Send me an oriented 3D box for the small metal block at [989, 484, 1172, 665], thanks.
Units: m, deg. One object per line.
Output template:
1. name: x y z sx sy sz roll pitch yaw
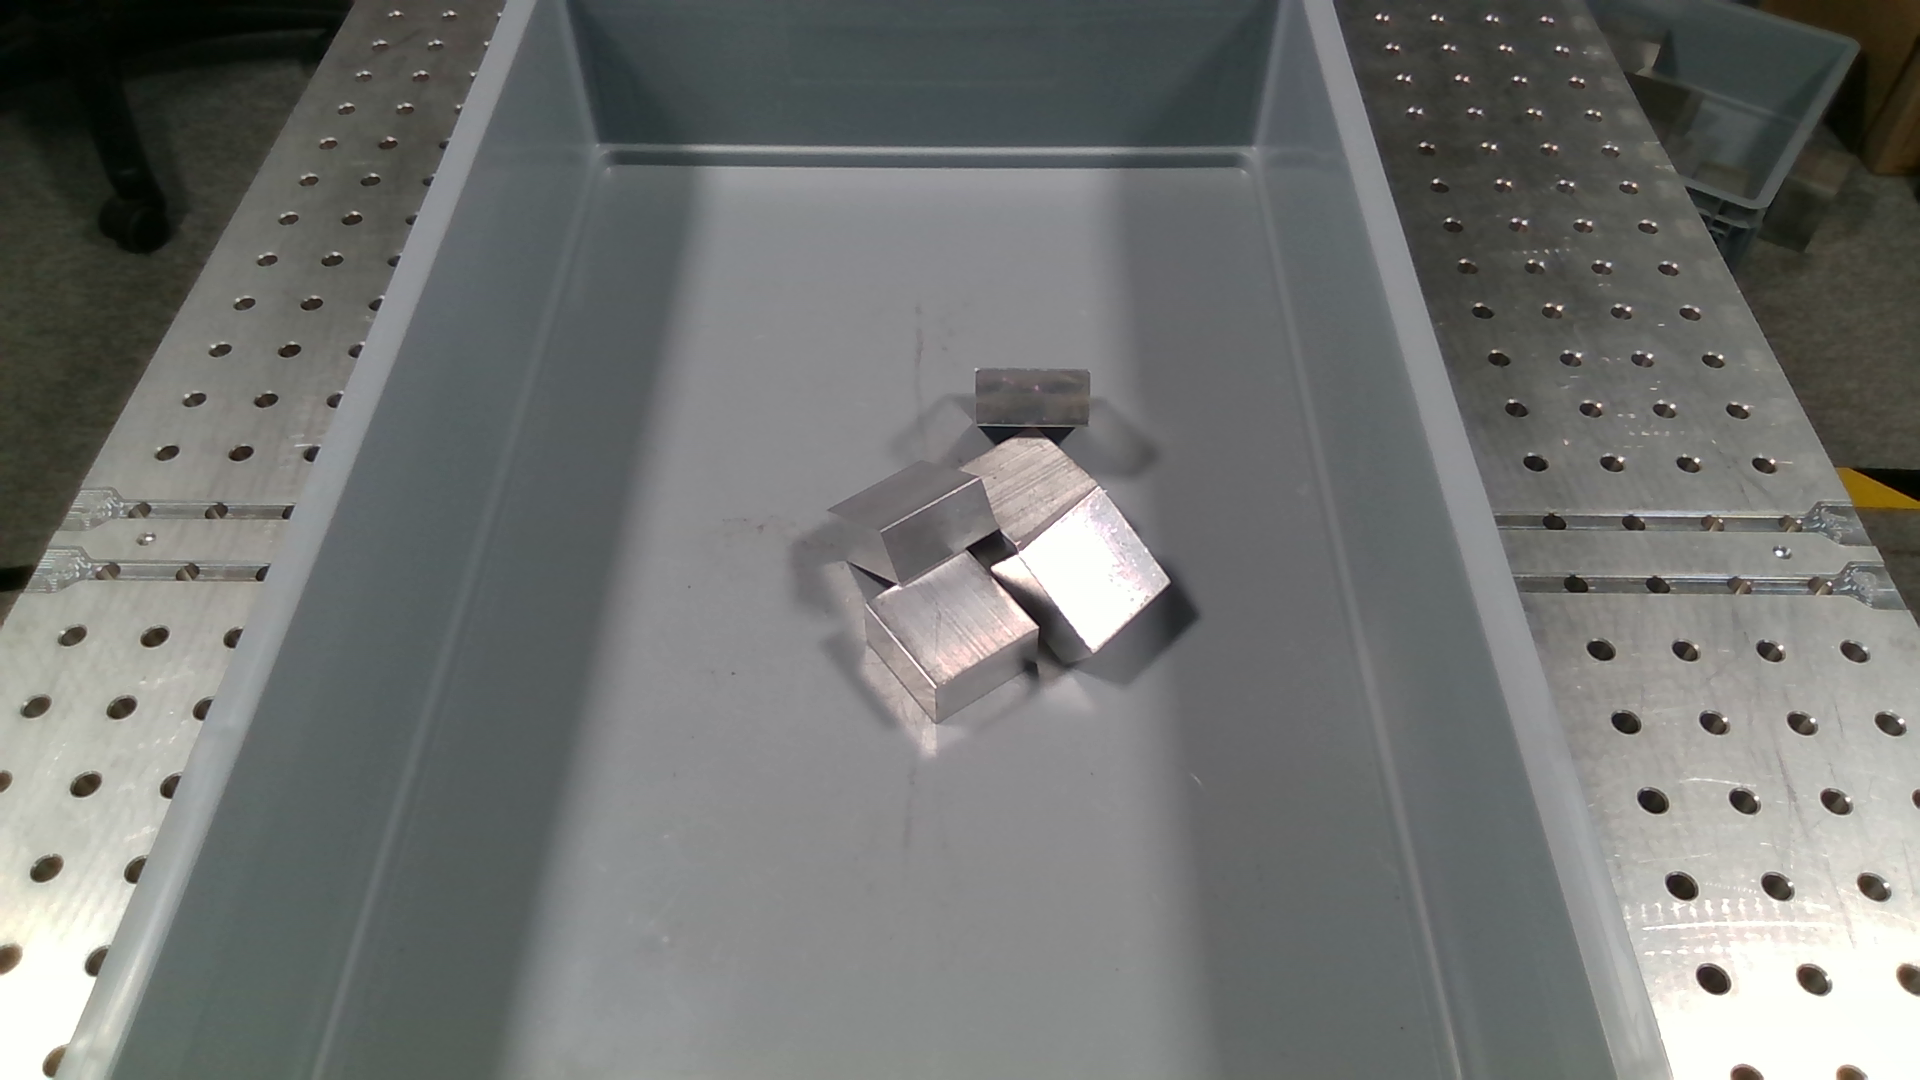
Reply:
1. small metal block: 0.049 0.014 0.559 0.050 0.025 0.050 -40 95 -28

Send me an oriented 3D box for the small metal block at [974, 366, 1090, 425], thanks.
1. small metal block: 0.031 -0.065 0.622 0.050 0.025 0.050 1 6 0

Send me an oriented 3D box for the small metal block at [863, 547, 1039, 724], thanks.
1. small metal block: -0.004 0.038 0.554 0.050 0.025 0.050 -29 56 -22

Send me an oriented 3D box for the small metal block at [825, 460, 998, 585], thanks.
1. small metal block: -0.021 -0.009 0.578 0.050 0.025 0.050 -30 25 -23

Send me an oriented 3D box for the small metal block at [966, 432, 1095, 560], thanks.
1. small metal block: 0.028 -0.016 0.599 0.050 0.025 0.050 -31 57 -23
